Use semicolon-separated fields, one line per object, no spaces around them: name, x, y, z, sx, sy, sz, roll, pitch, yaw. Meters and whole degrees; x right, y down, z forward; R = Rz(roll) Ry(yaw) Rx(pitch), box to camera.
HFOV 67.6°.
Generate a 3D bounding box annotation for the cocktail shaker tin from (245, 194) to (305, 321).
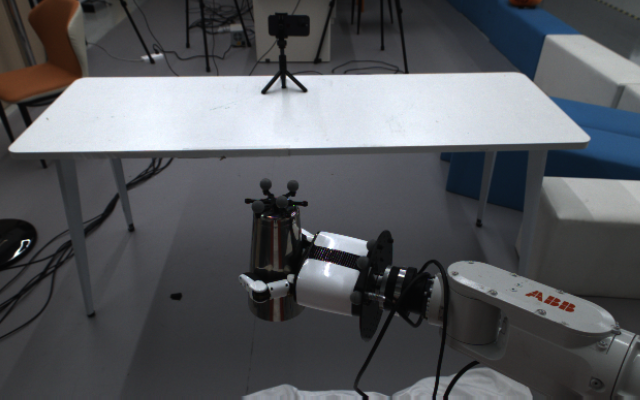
cocktail shaker tin;-0.063;0.085;0.725;0.093;0.170;0.093;2;28;-1
